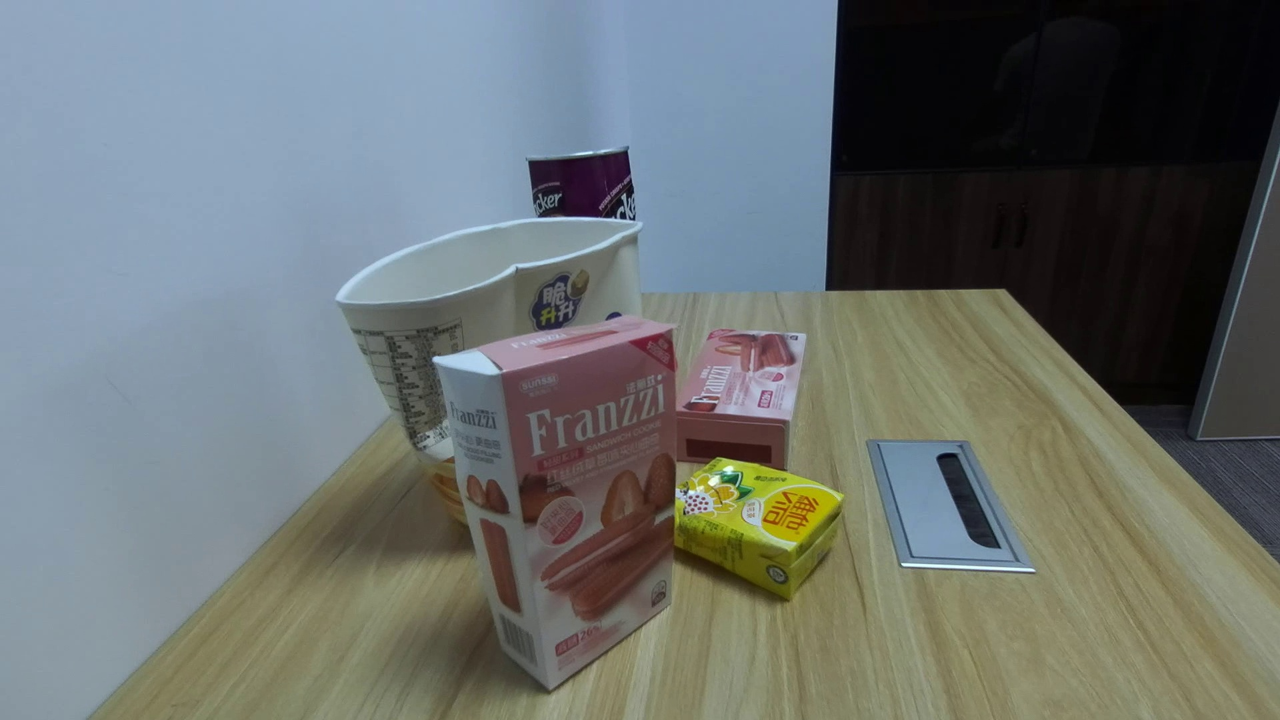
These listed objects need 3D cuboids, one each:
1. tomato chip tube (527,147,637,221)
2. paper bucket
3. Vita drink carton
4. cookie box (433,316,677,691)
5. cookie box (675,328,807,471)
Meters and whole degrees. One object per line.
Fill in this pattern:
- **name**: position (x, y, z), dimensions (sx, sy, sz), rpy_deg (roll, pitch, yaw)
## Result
- **tomato chip tube**: position (-0.043, -0.080, 0.671), dimensions (0.077, 0.235, 0.076), rpy_deg (4, 28, 20)
- **paper bucket**: position (-0.081, 0.008, 0.519), dimensions (0.147, 0.199, 0.218), rpy_deg (2, 24, 15)
- **Vita drink carton**: position (0.072, 0.106, 0.468), dimensions (0.107, 0.042, 0.087), rpy_deg (15, 35, 43)
- **cookie box**: position (-0.032, 0.073, 0.384), dimensions (0.119, 0.184, 0.055), rpy_deg (-19, 28, -32)
- **cookie box**: position (0.094, 0.028, 0.636), dimensions (0.096, 0.048, 0.184), rpy_deg (4, 25, 15)
